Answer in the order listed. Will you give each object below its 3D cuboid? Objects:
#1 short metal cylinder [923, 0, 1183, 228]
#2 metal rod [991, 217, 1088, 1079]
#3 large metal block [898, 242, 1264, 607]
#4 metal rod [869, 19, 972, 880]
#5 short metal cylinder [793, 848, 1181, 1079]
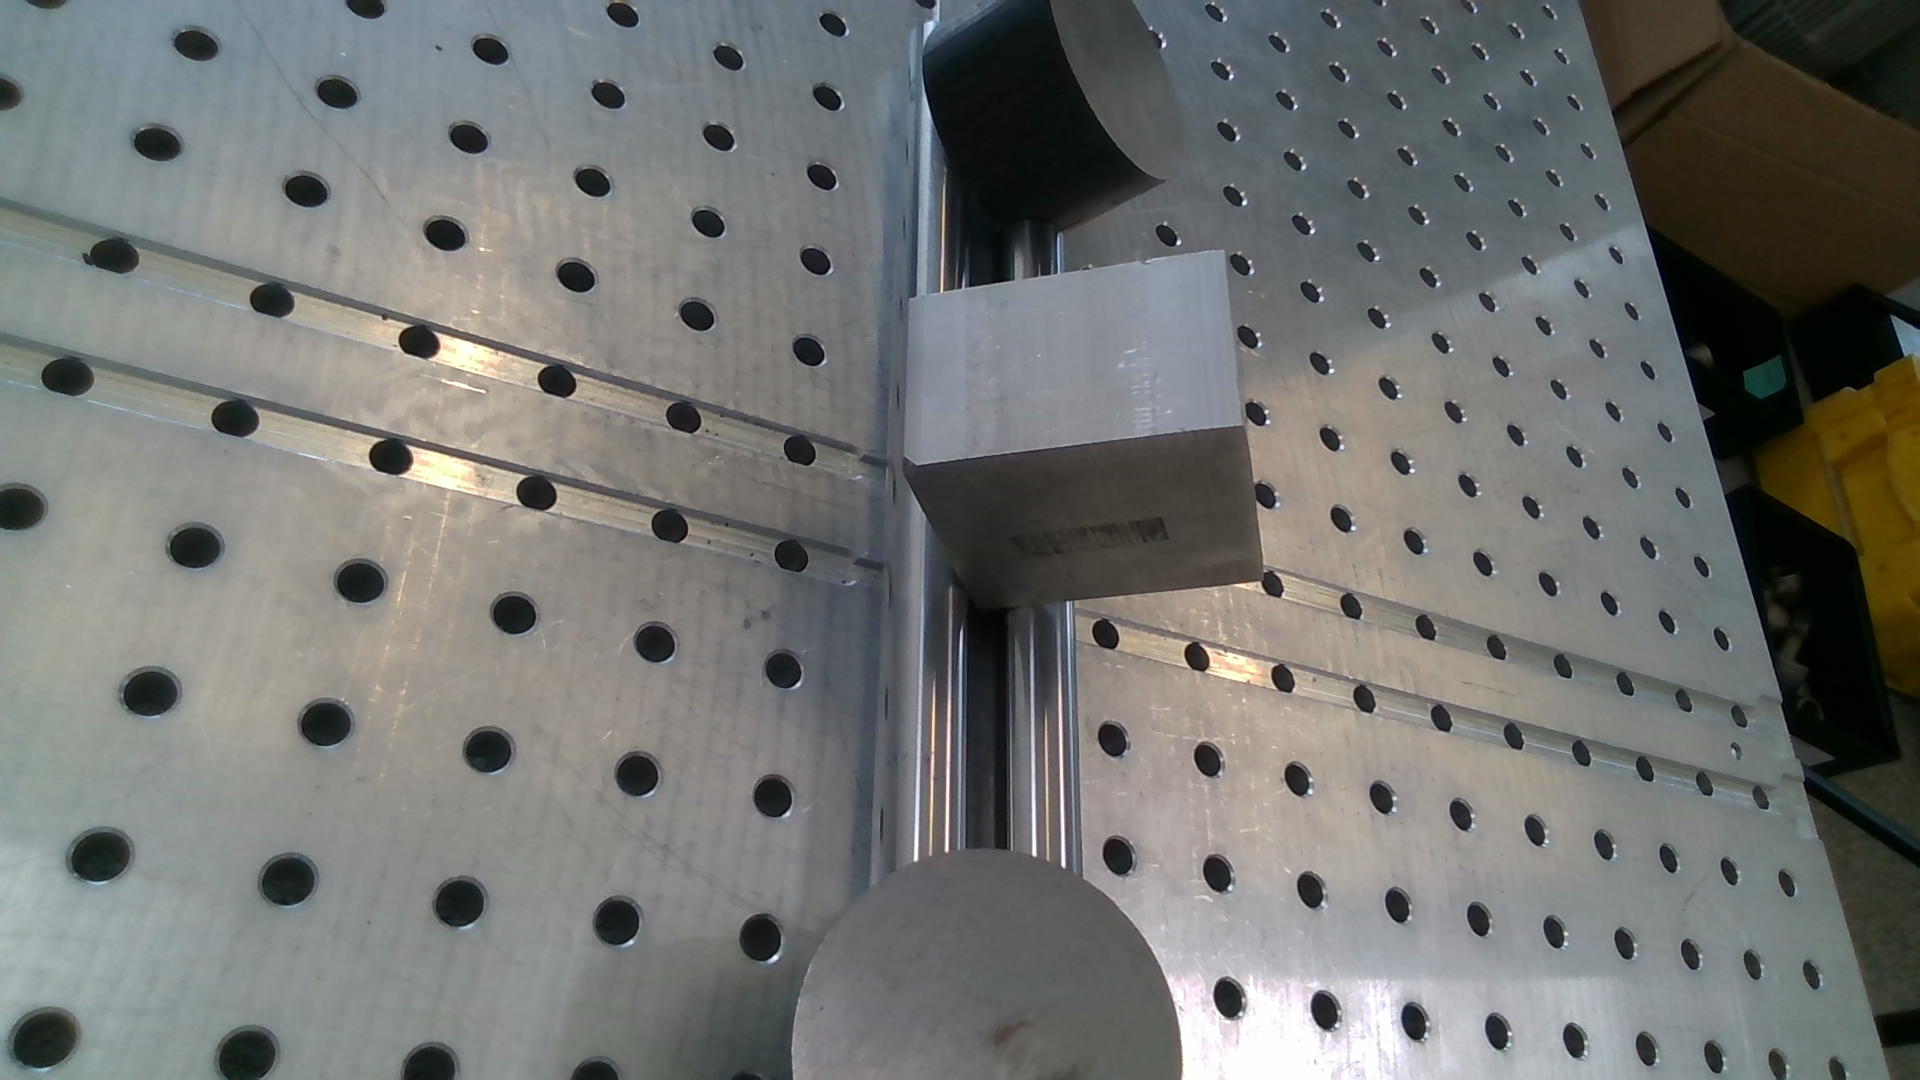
[{"bbox_3d":[0.032,-0.147,0.461,0.080,0.050,0.080,30,50,-44],"label":"short metal cylinder"},{"bbox_3d":[0.021,0.031,0.392,0.025,0.025,0.299,15,58,-24],"label":"metal rod"},{"bbox_3d":[0.034,-0.026,0.357,0.080,0.080,0.050,-6,61,12],"label":"large metal block"},{"bbox_3d":[-0.009,-0.042,0.412,0.025,0.025,0.299,15,58,-25],"label":"metal rod"},{"bbox_3d":[0.003,0.114,0.304,0.080,0.050,0.080,3,61,-6],"label":"short metal cylinder"}]
